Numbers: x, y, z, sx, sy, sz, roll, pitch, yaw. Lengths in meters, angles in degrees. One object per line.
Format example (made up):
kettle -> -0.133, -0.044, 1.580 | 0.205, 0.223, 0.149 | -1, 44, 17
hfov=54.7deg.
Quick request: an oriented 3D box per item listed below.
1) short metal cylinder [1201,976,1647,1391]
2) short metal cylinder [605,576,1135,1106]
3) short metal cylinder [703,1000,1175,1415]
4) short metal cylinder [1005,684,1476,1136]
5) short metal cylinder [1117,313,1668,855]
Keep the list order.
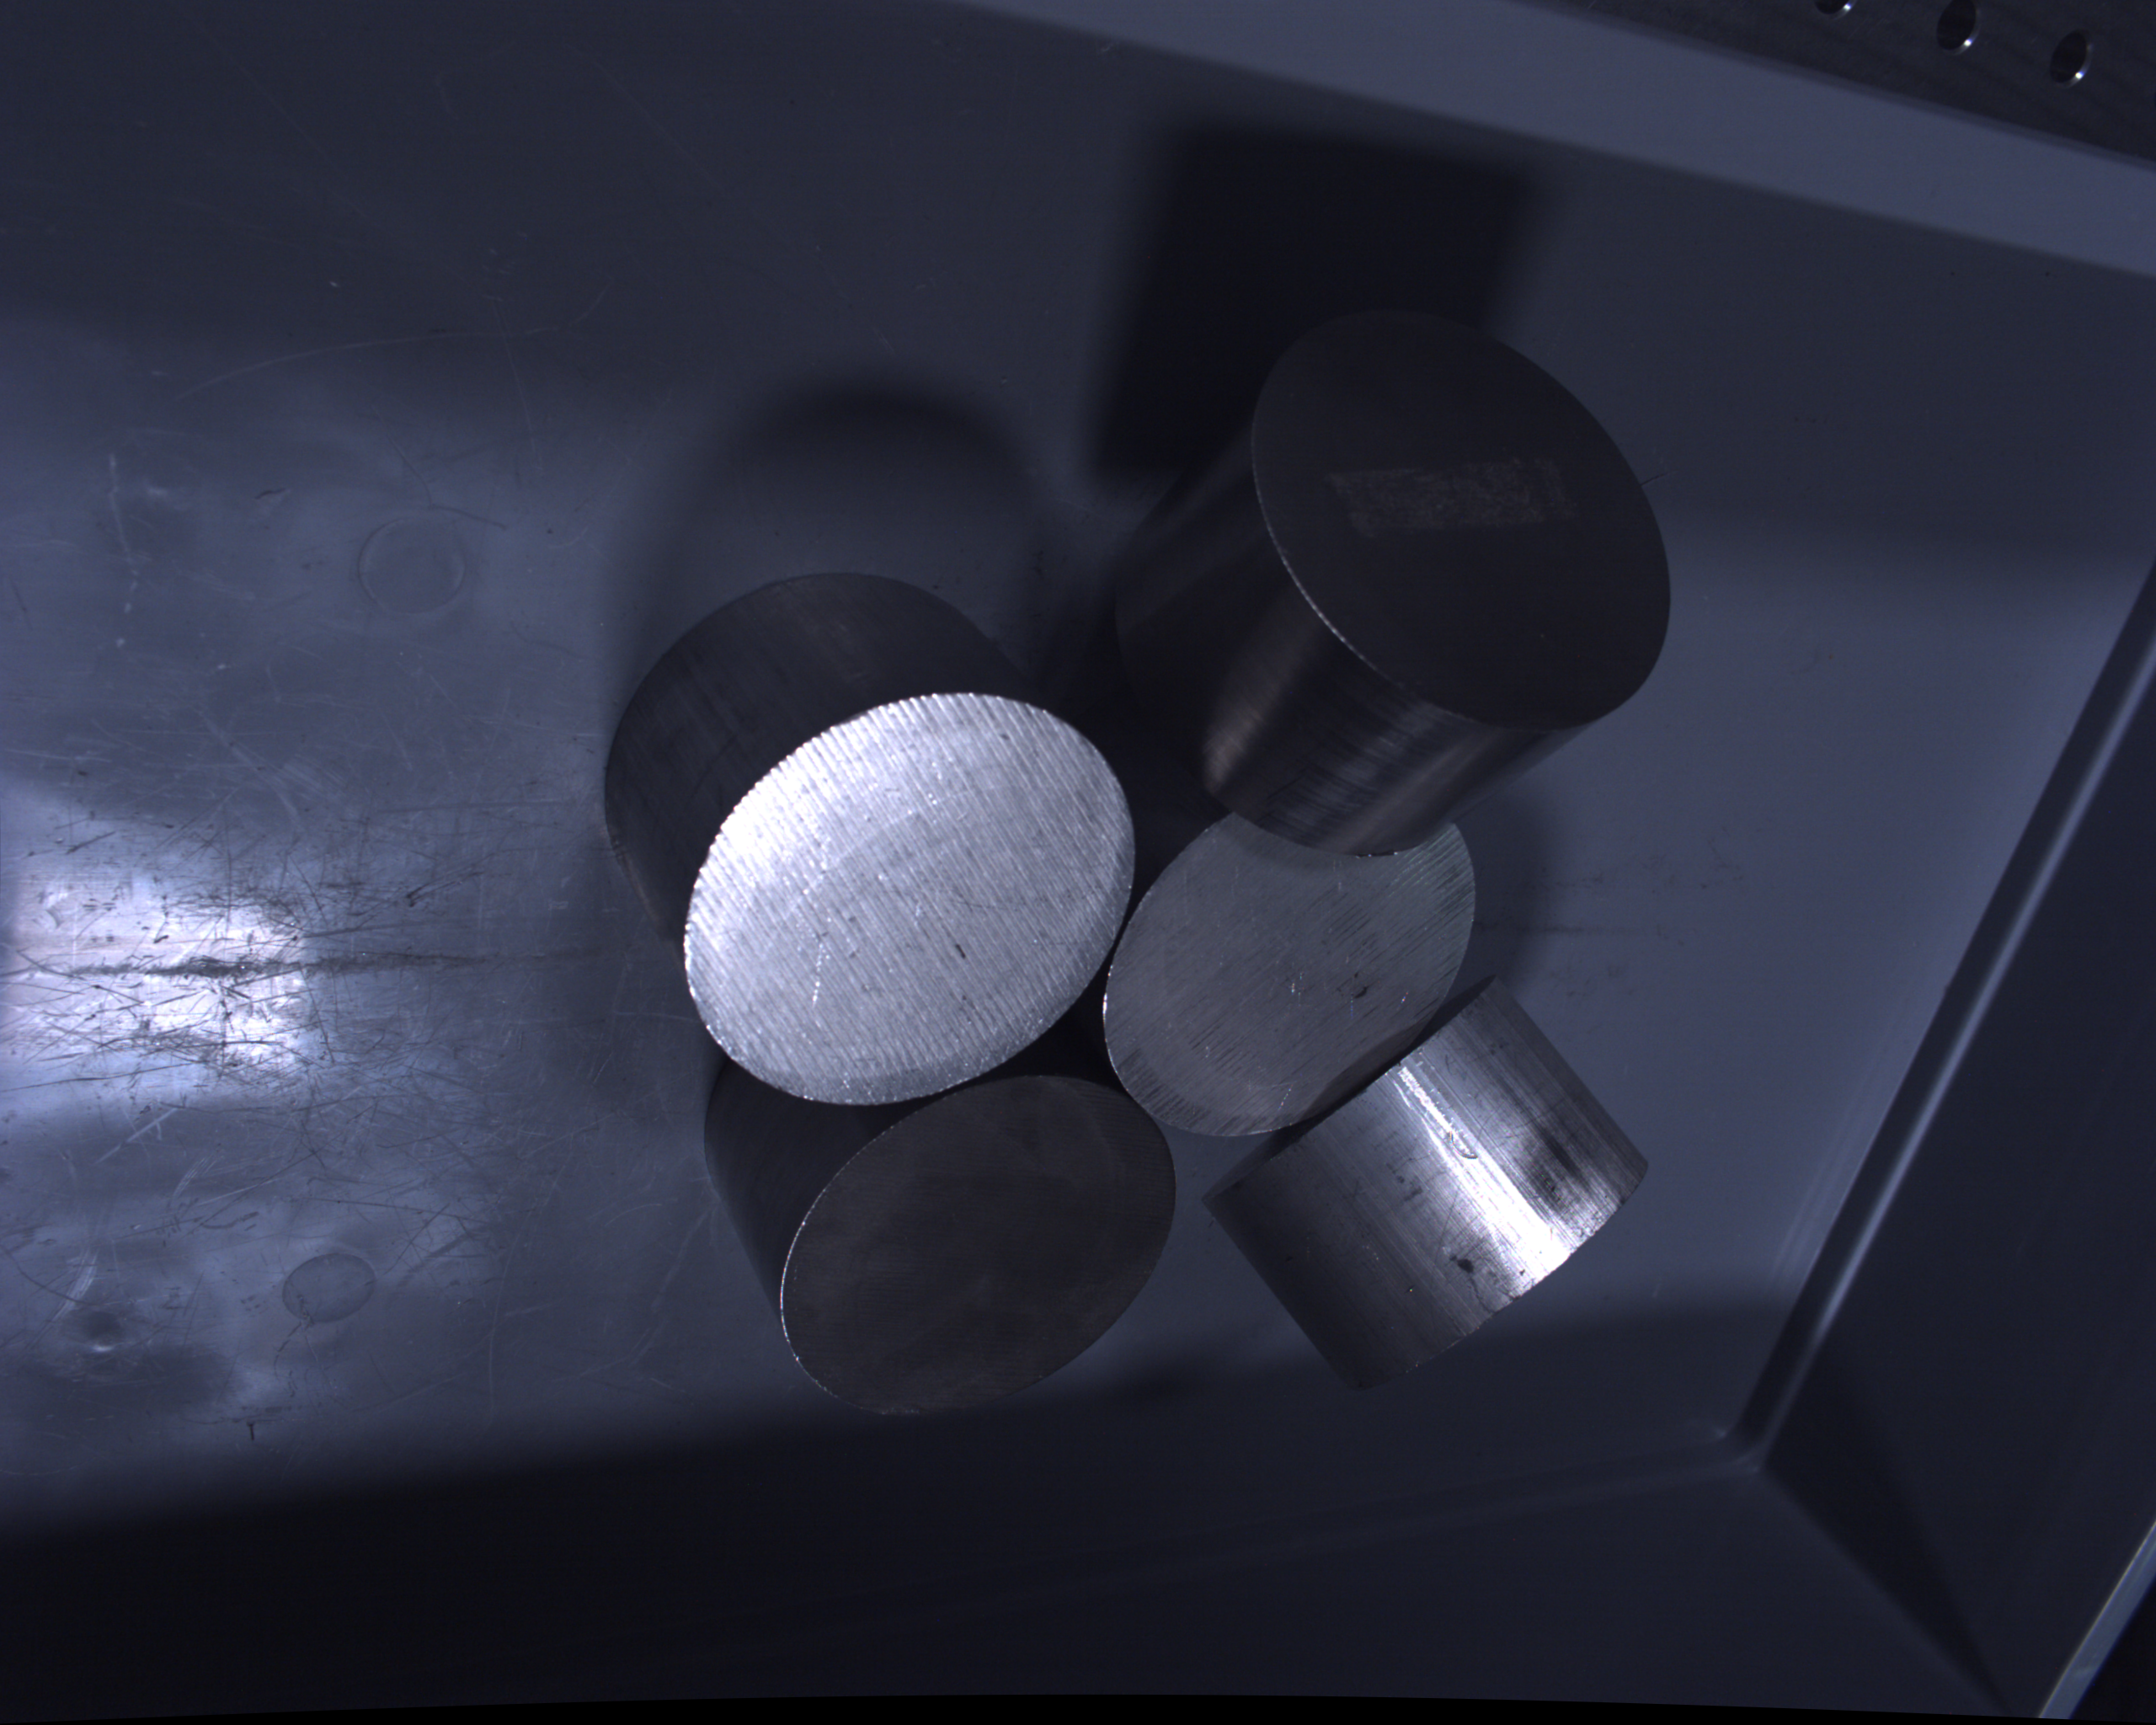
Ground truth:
short metal cylinder -> 0.074, 0.068, 0.448 | 0.080, 0.050, 0.080 | -37, 174, -4
short metal cylinder -> -0.037, -0.004, 0.368 | 0.081, 0.050, 0.079 | -14, 125, -21
short metal cylinder -> -0.028, 0.062, 0.414 | 0.081, 0.050, 0.079 | -14, 125, -21
short metal cylinder -> 0.031, 0.007, 0.413 | 0.081, 0.050, 0.079 | -14, 125, -21
short metal cylinder -> 0.054, -0.048, 0.363 | 0.081, 0.080, 0.050 | -3, 158, -27
